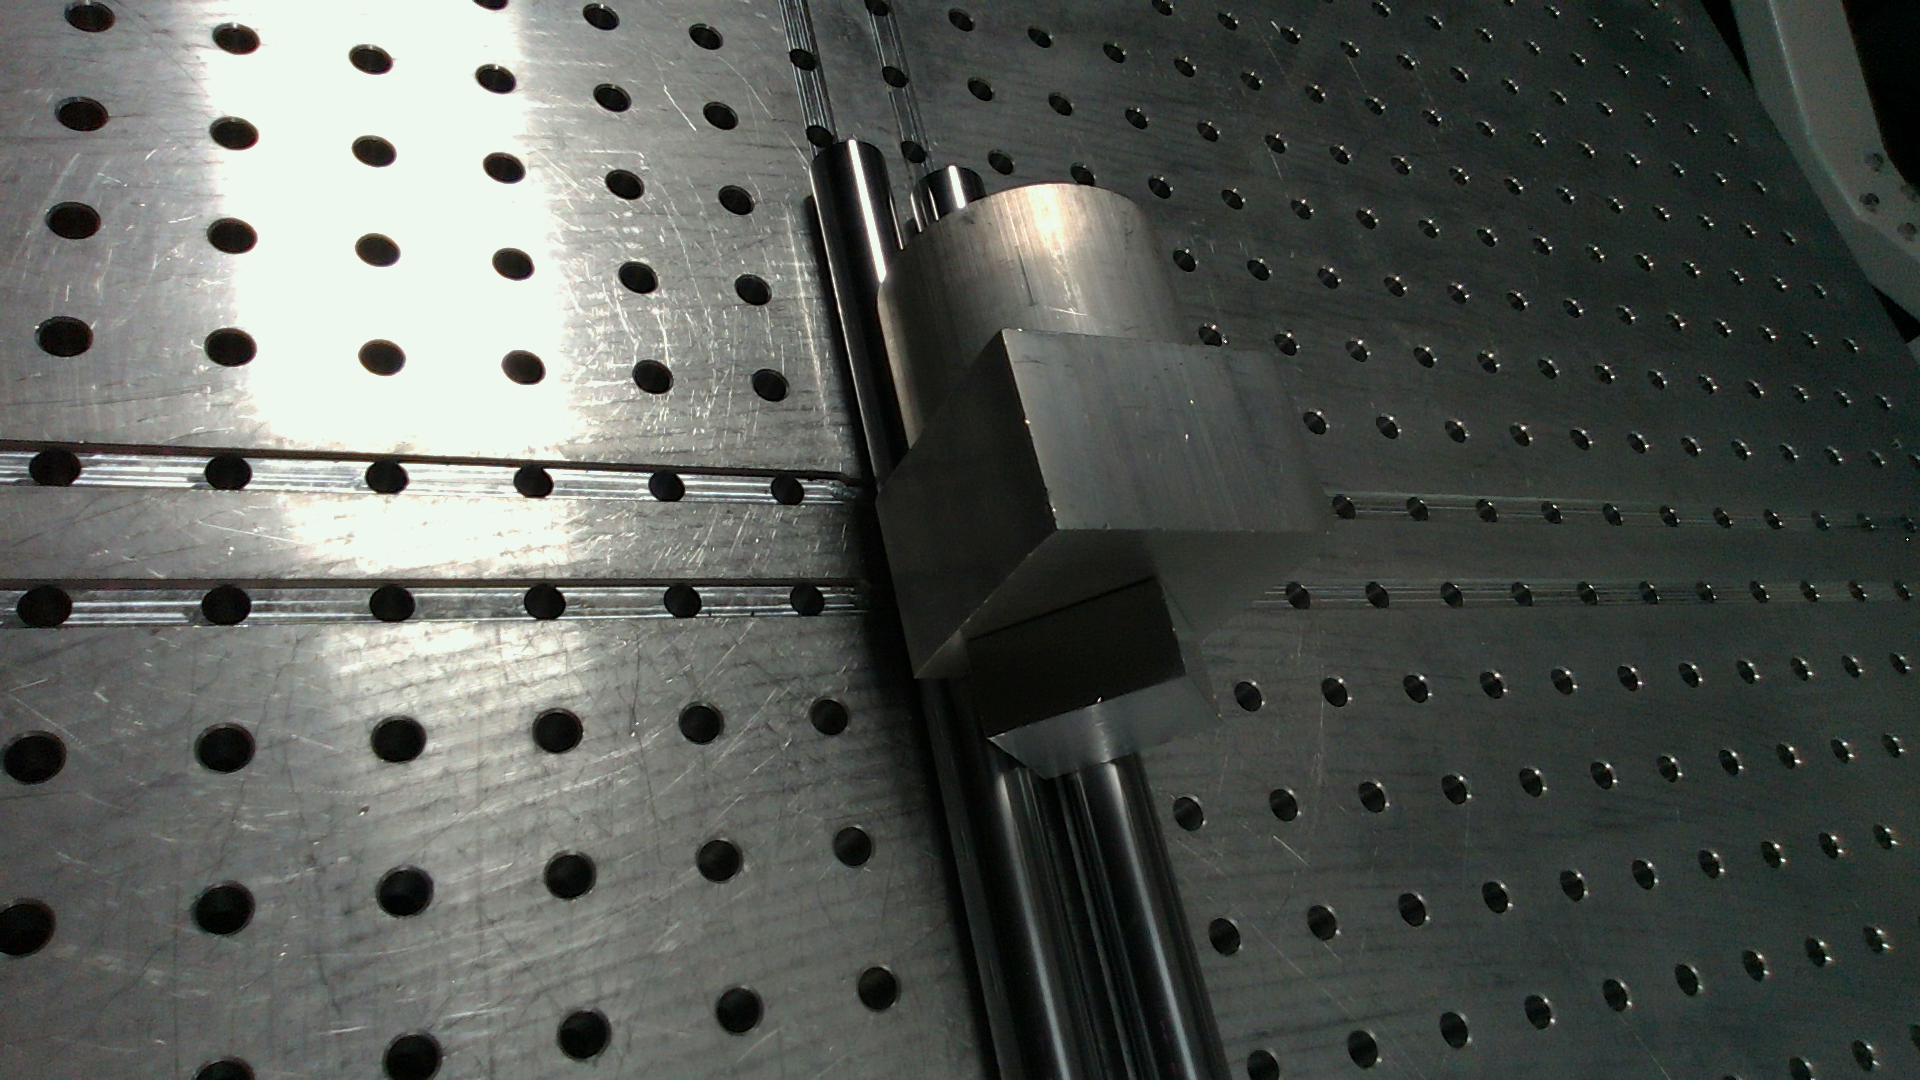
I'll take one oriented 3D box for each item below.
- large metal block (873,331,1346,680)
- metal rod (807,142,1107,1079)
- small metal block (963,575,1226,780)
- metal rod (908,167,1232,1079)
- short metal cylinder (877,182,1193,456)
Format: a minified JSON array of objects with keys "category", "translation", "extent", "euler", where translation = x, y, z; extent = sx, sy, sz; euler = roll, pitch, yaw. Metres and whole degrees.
[{"category":"large metal block","translation":[0.034,-0.005,0.347],"extent":[0.080,0.080,0.050],"euler":[0,61,-28]},{"category":"metal rod","translation":[-0.006,0.011,0.384],"extent":[0.025,0.025,0.300],"euler":[1,61,-28]},{"category":"small metal block","translation":[0.035,0.036,0.344],"extent":[0.050,0.050,0.025],"euler":[46,28,-61]},{"category":"metal rod","translation":[0.026,0.015,0.399],"extent":[0.025,0.025,0.300],"euler":[1,61,-28]},{"category":"short metal cylinder","translation":[0.021,-0.050,0.372],"extent":[0.080,0.080,0.050],"euler":[1,61,-28]}]
